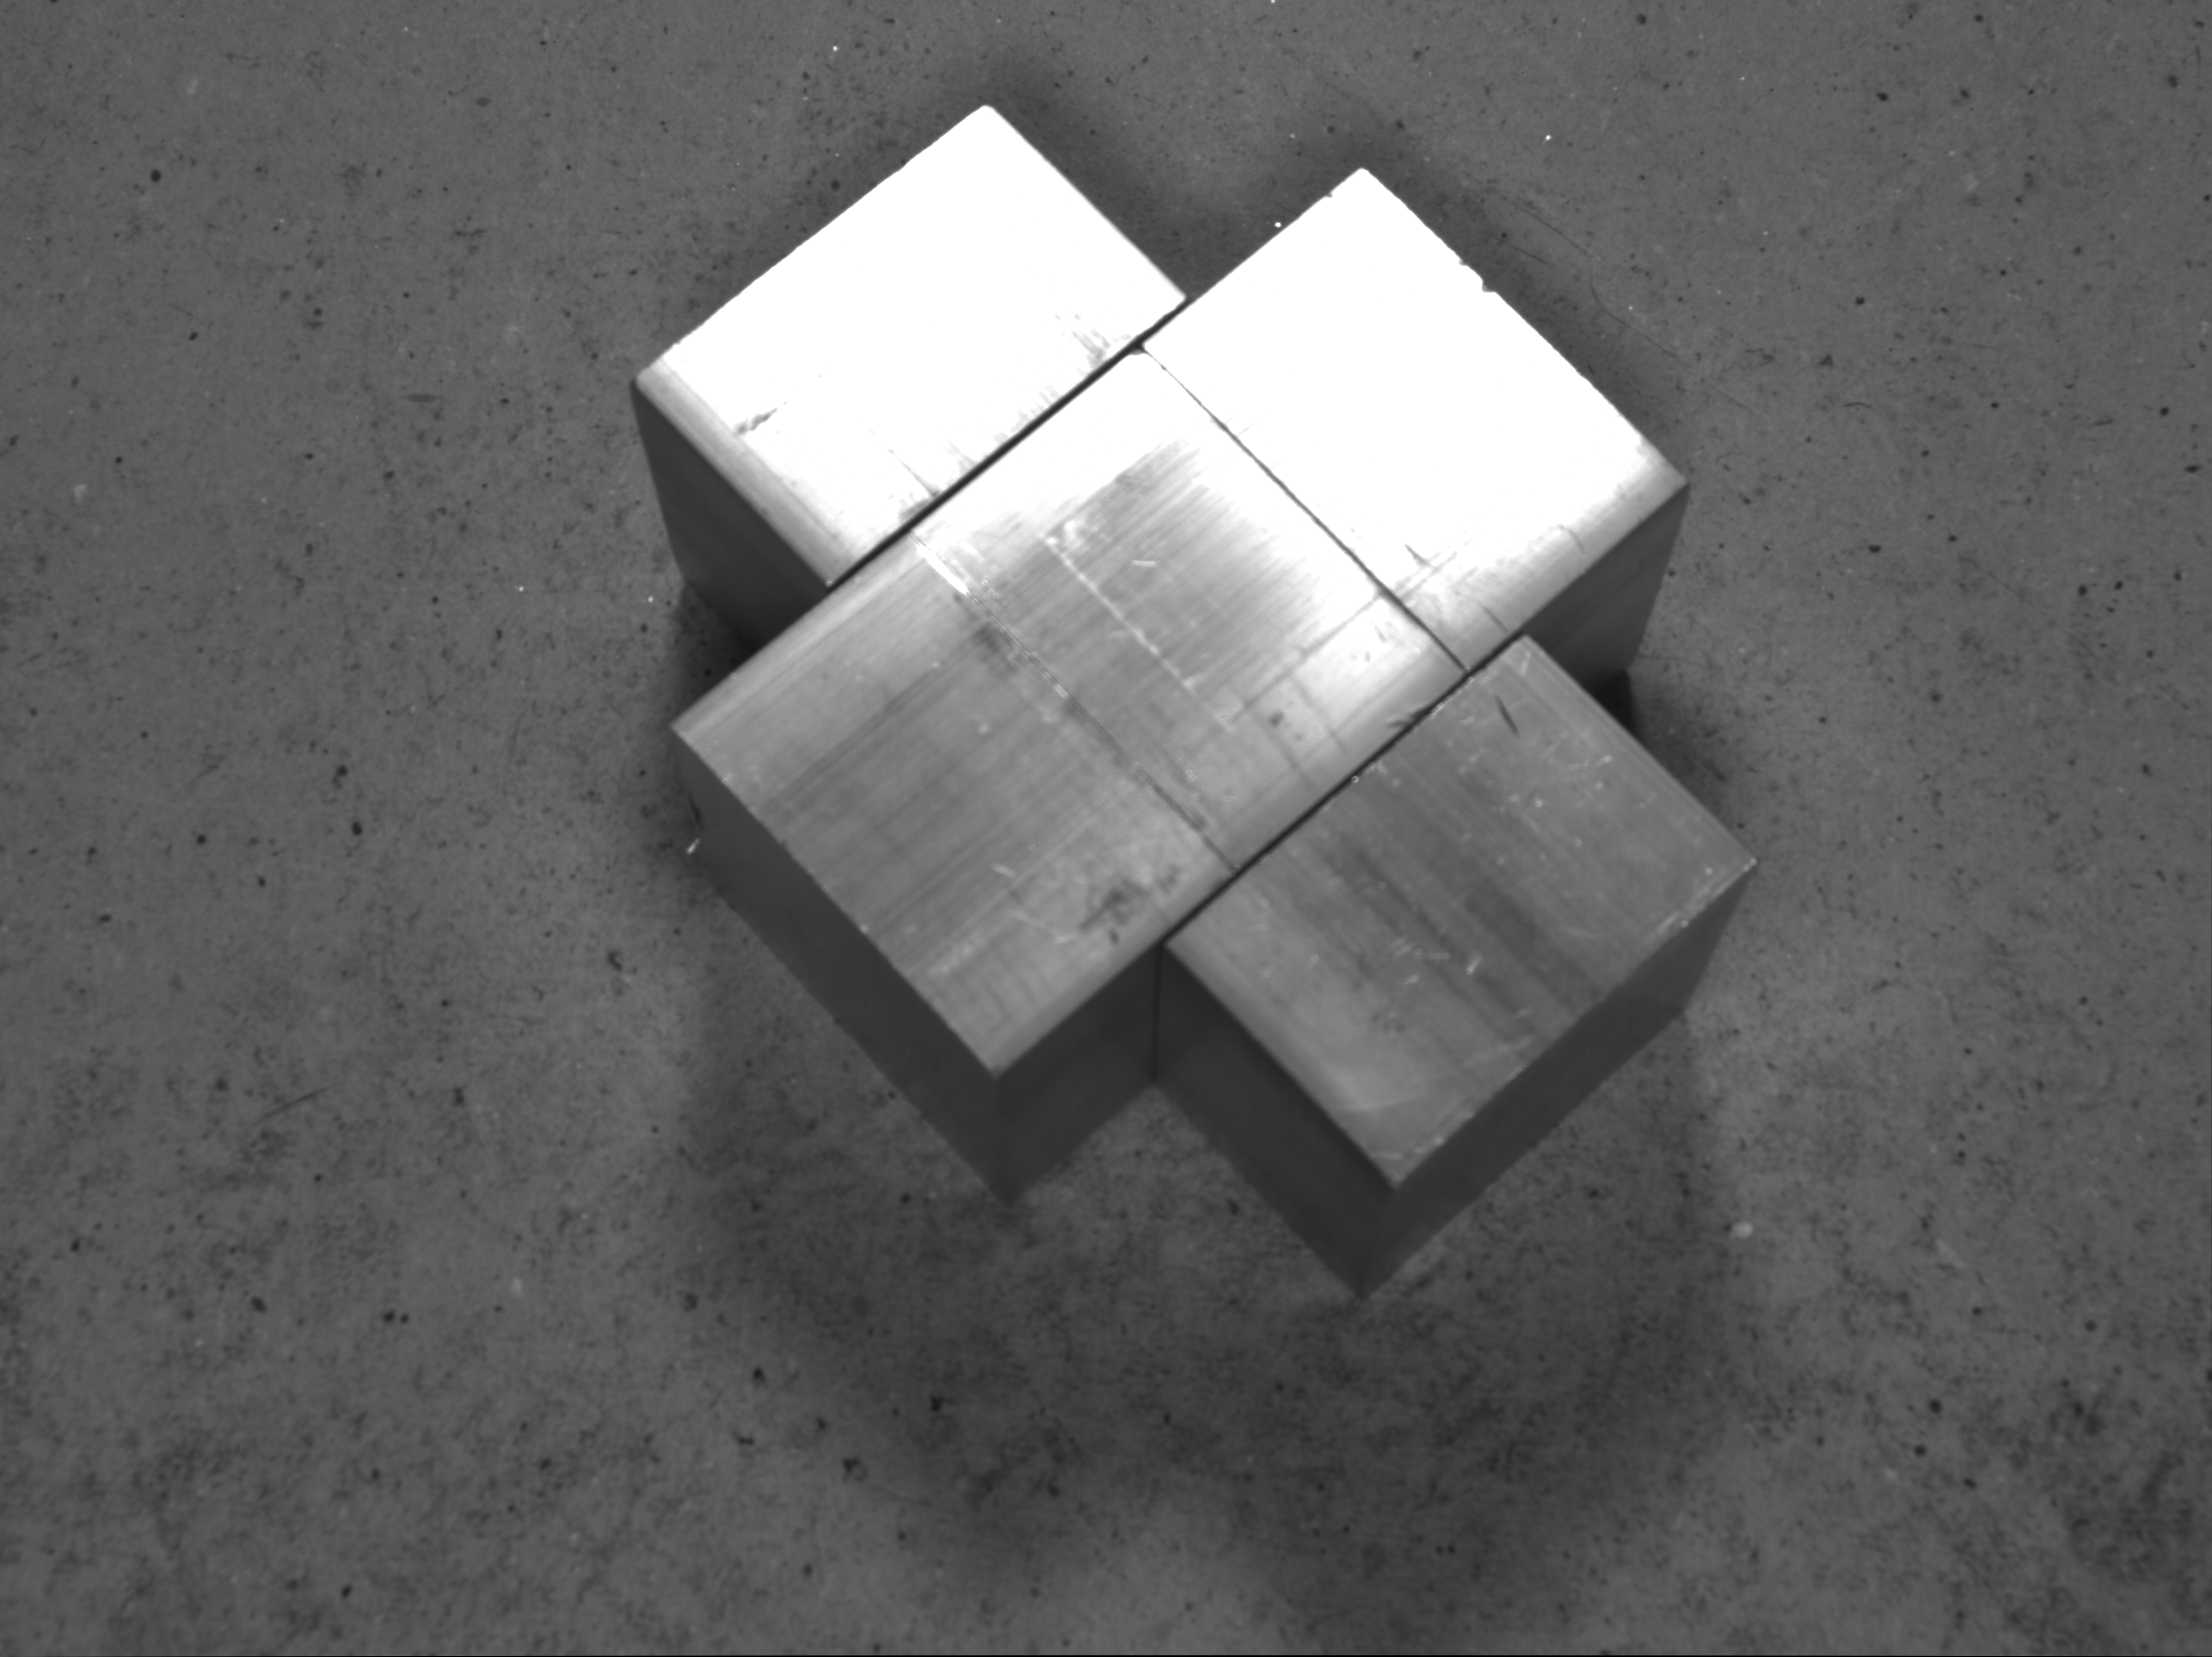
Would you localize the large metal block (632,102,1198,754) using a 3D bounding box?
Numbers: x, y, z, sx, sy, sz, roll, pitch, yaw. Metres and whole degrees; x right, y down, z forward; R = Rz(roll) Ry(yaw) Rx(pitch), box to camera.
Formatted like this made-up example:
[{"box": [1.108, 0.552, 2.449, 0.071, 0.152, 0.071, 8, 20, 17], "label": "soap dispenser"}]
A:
[{"box": [-0.031, -0.066, 0.641, 0.080, 0.080, 0.050, -40, 75, -13], "label": "large metal block"}]

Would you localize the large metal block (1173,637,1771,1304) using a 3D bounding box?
[{"box": [0.058, 0.026, 0.607, 0.080, 0.080, 0.050, -40, 75, -13], "label": "large metal block"}]

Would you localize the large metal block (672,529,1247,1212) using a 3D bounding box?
[{"box": [-0.023, 0.009, 0.613, 0.050, 0.080, 0.080, -40, 75, -13], "label": "large metal block"}]

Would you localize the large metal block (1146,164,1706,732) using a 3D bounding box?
[{"box": [0.052, -0.054, 0.636, 0.050, 0.080, 0.080, -40, 75, -13], "label": "large metal block"}]

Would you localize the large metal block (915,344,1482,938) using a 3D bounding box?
[{"box": [0.015, -0.022, 0.624, 0.050, 0.080, 0.080, -40, 75, -13], "label": "large metal block"}]
